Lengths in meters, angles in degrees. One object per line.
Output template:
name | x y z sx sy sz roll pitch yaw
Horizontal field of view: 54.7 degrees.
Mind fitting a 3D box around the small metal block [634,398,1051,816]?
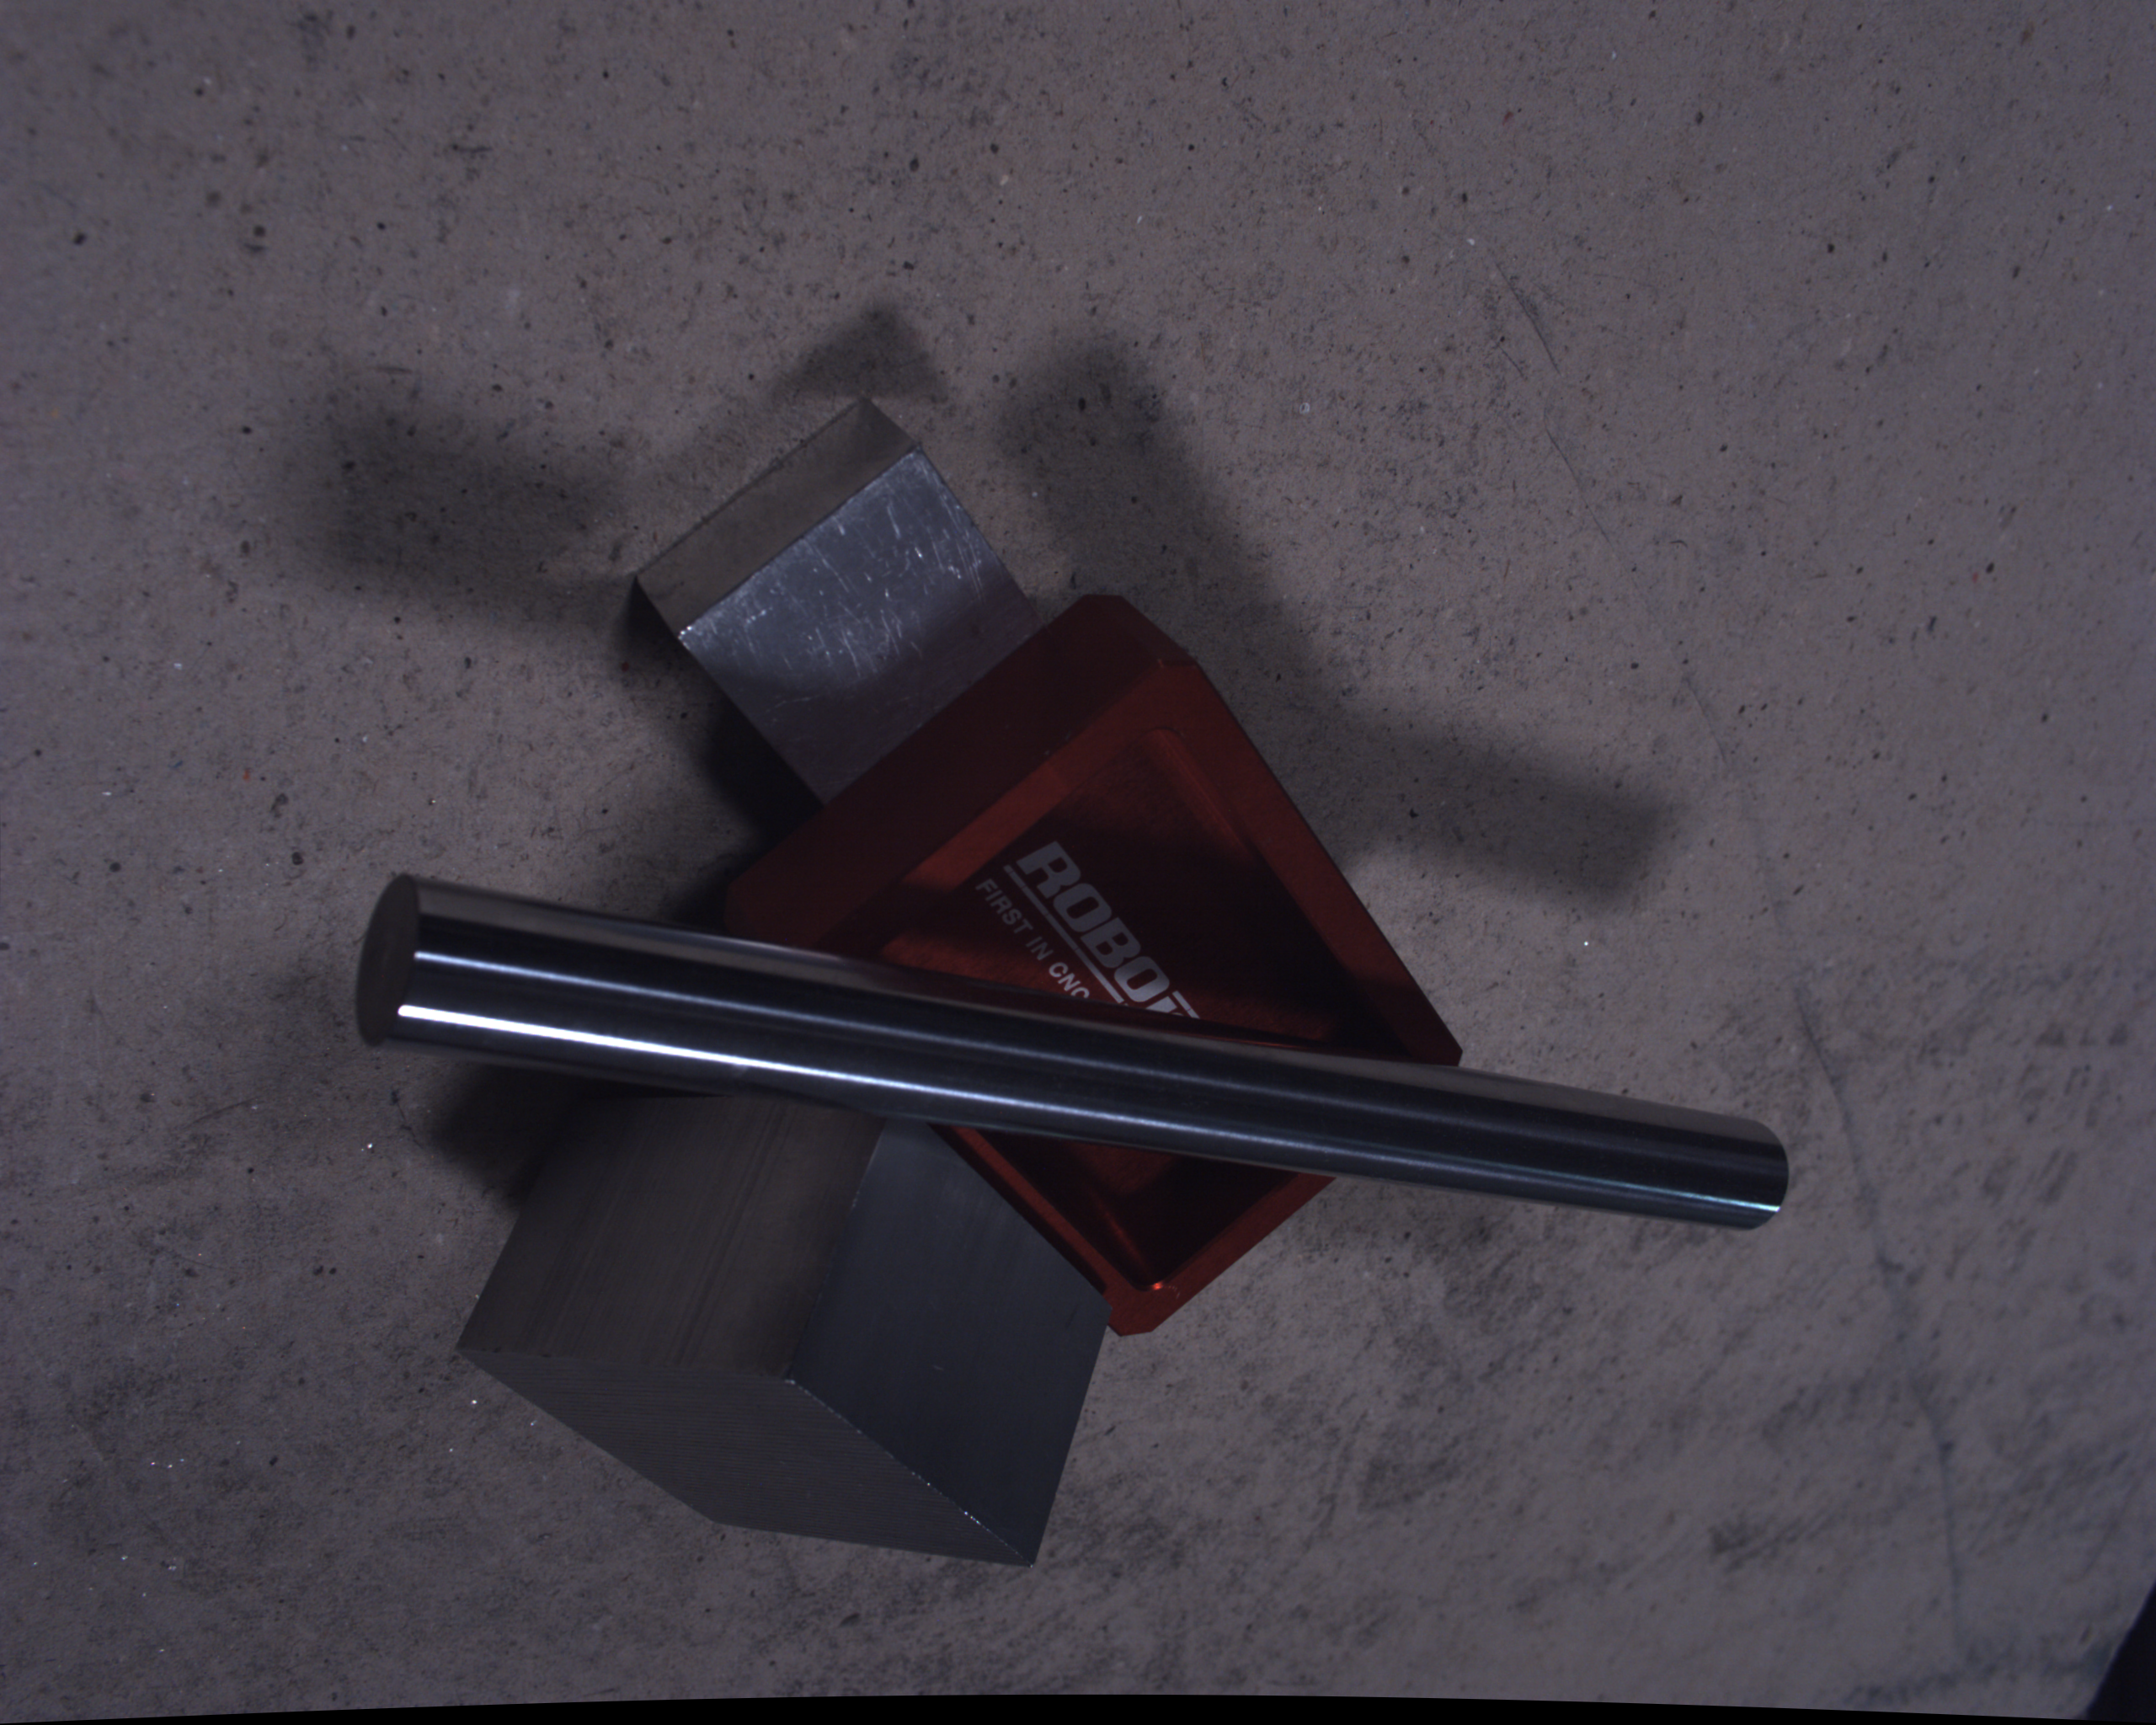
small metal block | -0.039 -0.043 0.362 0.050 0.025 0.050 -39 130 -2

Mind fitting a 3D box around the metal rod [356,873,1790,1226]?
metal rod | 0.025 0.041 0.378 0.302 0.025 0.025 13 112 -34

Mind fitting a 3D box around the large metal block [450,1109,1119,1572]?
large metal block | -0.052 0.088 0.389 0.080 0.080 0.050 51 47 -40

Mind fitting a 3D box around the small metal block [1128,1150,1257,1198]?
small metal block | 0.033 0.053 0.461 0.050 0.025 0.050 -44 130 2

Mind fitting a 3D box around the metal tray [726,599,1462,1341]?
metal tray | 0.008 0.025 0.393 0.090 0.030 0.130 -40 130 -2
